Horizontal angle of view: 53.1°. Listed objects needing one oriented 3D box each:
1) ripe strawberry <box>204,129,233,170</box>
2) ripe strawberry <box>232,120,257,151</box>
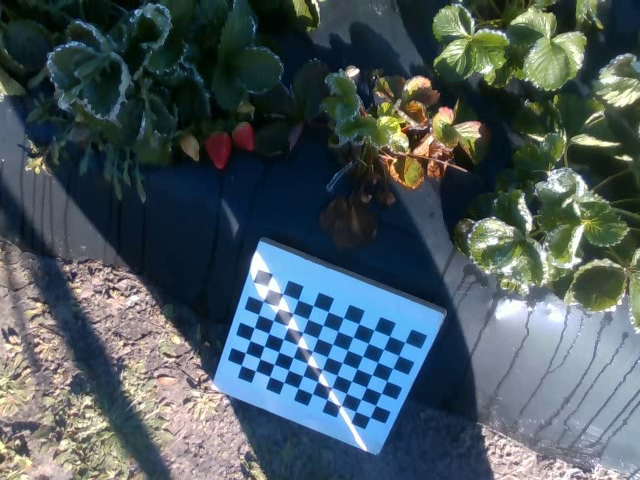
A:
[{"bbox_3d":[-0.129,-0.111,0.817,0.036,0.052,0.039,-15,-21,15],"label":"ripe strawberry"},{"bbox_3d":[-0.096,-0.133,0.822,0.036,0.041,0.030,-40,3,21],"label":"ripe strawberry"}]
